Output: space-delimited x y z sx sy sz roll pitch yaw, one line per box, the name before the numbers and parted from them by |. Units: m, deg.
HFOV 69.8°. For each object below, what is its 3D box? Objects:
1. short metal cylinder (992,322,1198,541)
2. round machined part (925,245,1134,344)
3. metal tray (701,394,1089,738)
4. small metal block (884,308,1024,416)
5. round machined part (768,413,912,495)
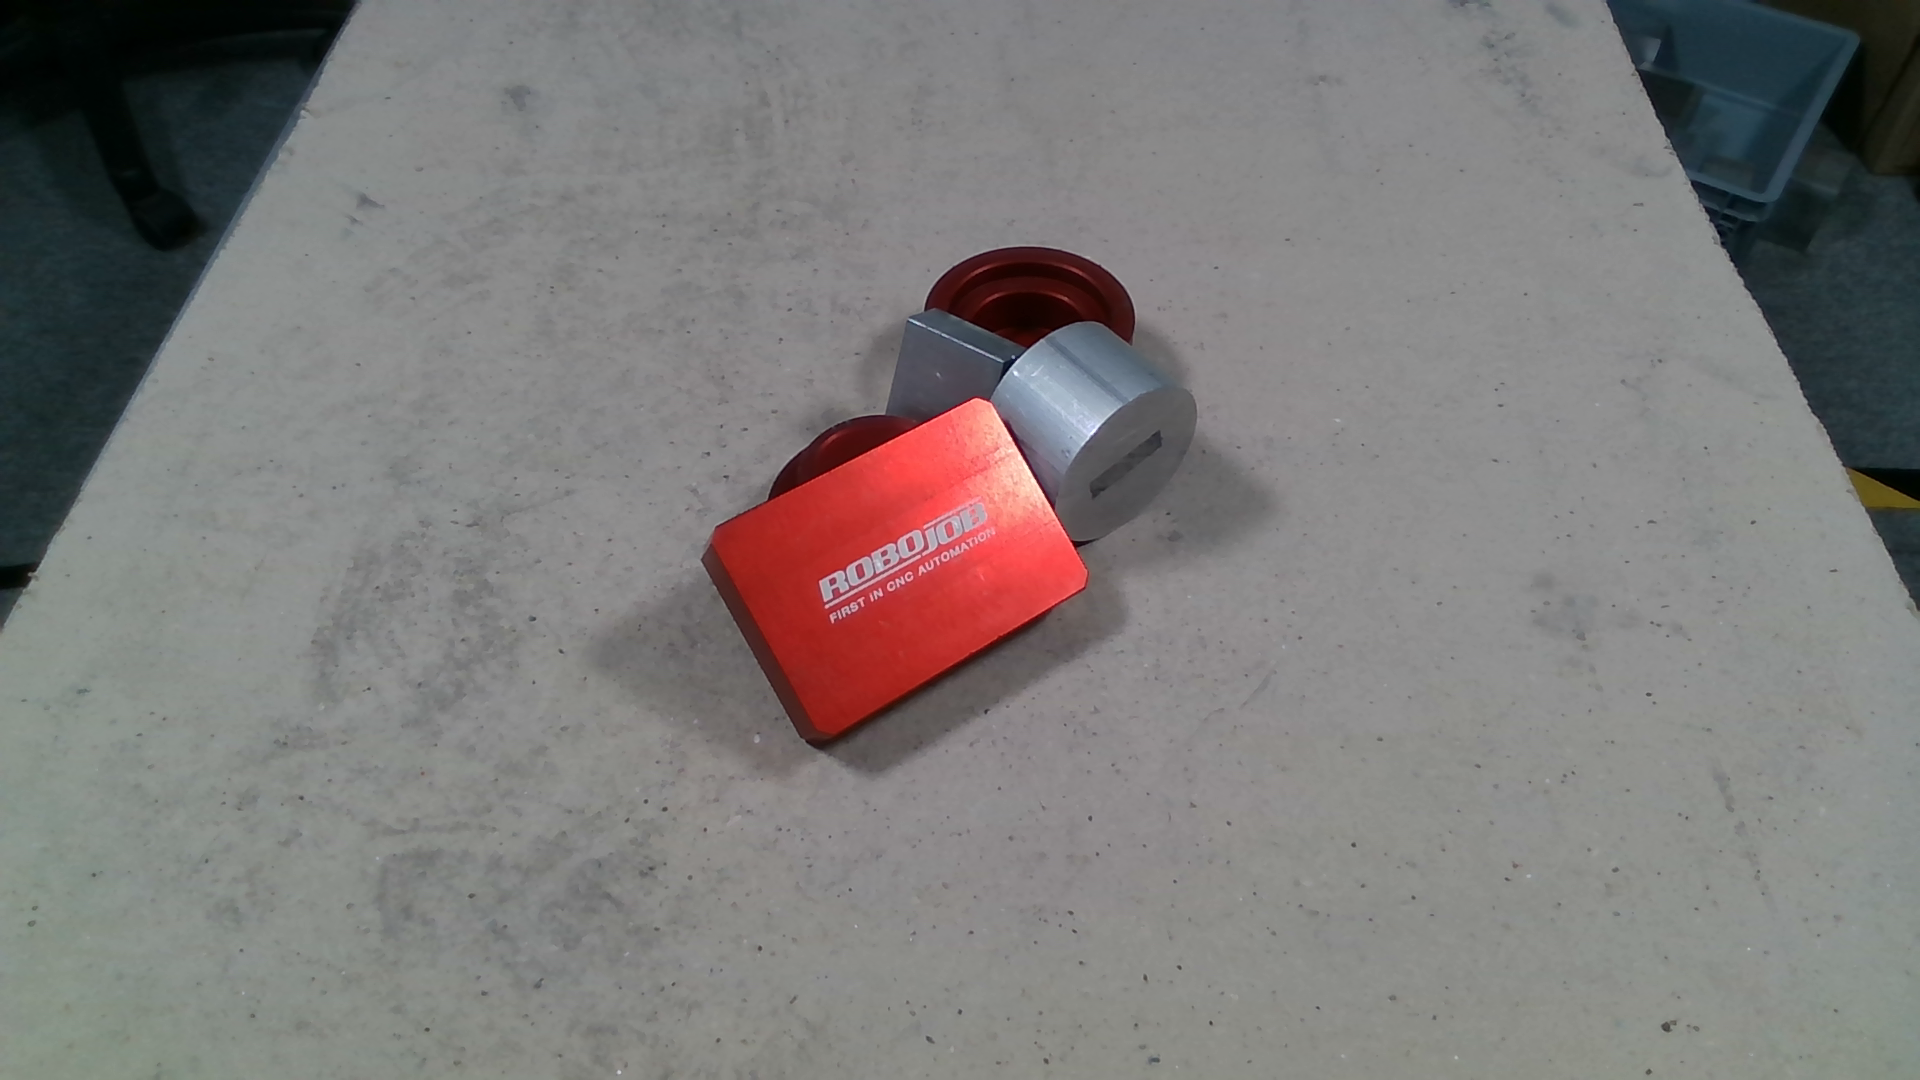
short metal cylinder | 0.055 -0.046 0.591 0.080 0.080 0.050 -31 57 -23
round machined part | 0.032 -0.093 0.654 0.098 0.042 0.098 0 50 0
metal tray | -0.025 0.009 0.547 0.130 0.030 0.090 -29 88 -22
small metal block | -0.002 -0.067 0.604 0.050 0.050 0.025 27 31 20
round machined part | -0.034 -0.016 0.589 0.098 0.042 0.098 0 50 0
